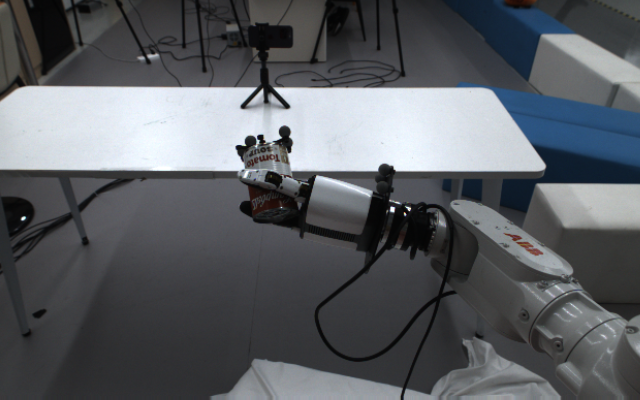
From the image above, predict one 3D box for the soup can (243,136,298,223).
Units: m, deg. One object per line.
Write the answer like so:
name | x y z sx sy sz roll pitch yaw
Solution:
soup can | -0.070 -0.024 0.701 0.067 0.067 0.101 -9 74 -15
